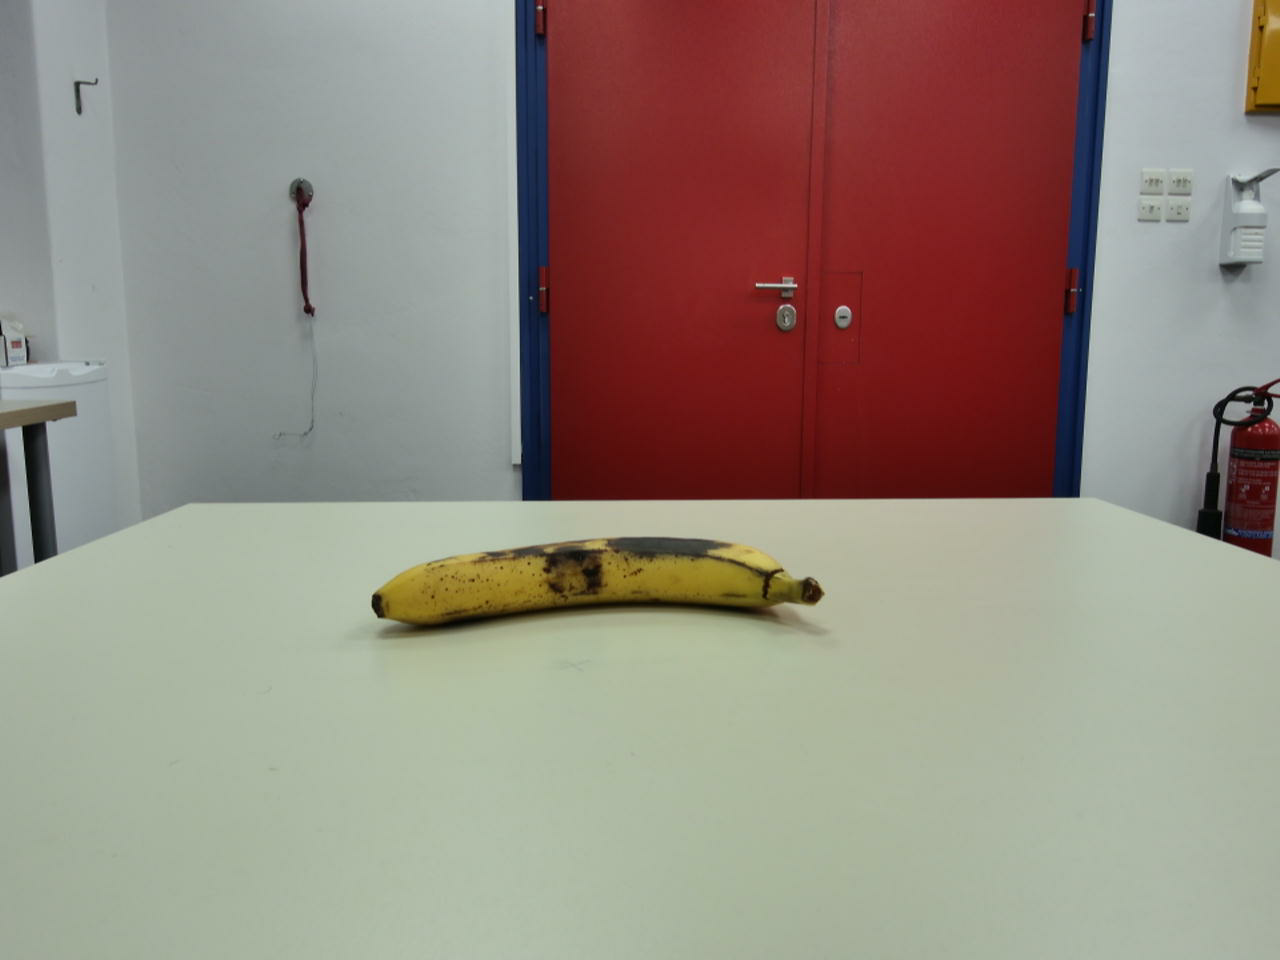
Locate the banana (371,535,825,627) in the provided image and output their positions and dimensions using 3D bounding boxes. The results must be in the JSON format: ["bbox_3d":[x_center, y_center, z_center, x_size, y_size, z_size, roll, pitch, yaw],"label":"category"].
[{"bbox_3d":[-0.021,0.052,0.526,0.222,0.037,0.084,0,6,-1],"label":"banana"}]
